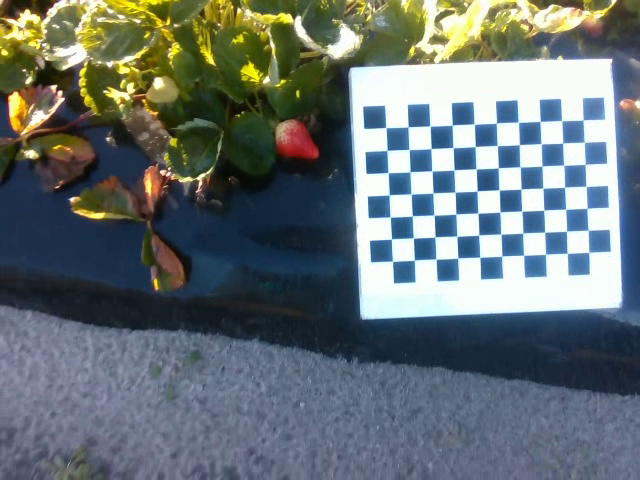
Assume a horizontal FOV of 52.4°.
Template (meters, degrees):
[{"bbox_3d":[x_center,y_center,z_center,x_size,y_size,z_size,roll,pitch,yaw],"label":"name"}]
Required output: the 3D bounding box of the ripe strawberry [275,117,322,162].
[{"bbox_3d":[-0.027,-0.113,0.742,0.065,0.040,0.040,38,-3,-3],"label":"ripe strawberry"}]
